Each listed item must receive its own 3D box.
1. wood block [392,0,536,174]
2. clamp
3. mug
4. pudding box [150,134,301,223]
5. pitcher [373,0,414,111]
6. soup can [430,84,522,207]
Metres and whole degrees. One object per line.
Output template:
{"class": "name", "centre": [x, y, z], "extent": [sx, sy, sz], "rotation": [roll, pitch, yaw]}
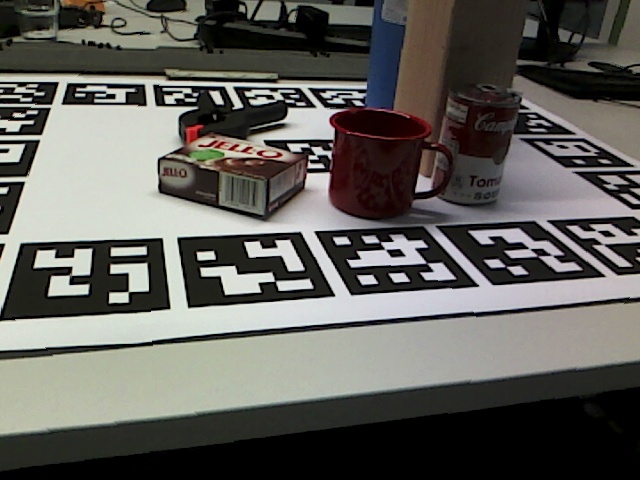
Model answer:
{"class": "wood block", "centre": [0.145, -0.182, 0.658], "extent": [0.089, 0.206, 0.091], "rotation": [-2, 30, -21]}
{"class": "clamp", "centre": [-0.110, -0.136, 0.723], "extent": [0.122, 0.036, 0.165], "rotation": [17, 31, 6]}
{"class": "mug", "centre": [0.064, -0.066, 0.567], "extent": [0.117, 0.081, 0.093], "rotation": [13, 28, 16]}
{"class": "pudding box", "centre": [-0.086, -0.060, 0.581], "extent": [0.114, 0.038, 0.090], "rotation": [15, 33, 17]}
{"class": "pitcher", "centre": [0.137, -0.257, 0.758], "extent": [0.188, 0.242, 0.134], "rotation": [-6, 29, -15]}
{"class": "soup can", "centre": [0.149, -0.092, 0.603], "extent": [0.068, 0.102, 0.068], "rotation": [4, 32, -3]}
